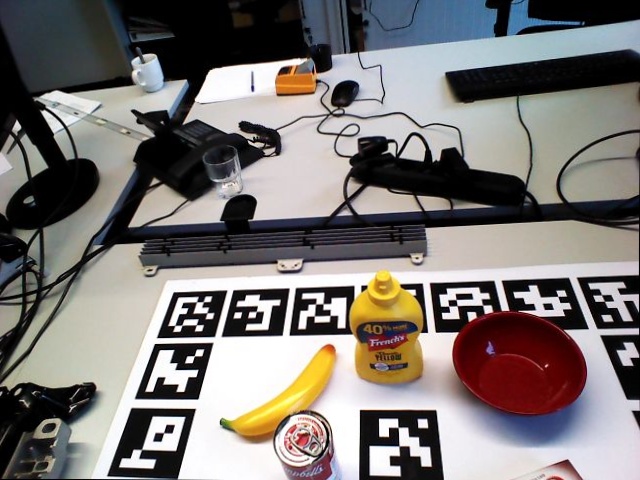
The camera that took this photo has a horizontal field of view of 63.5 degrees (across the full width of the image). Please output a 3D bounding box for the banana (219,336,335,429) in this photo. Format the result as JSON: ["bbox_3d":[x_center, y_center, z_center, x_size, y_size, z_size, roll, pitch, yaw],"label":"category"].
[{"bbox_3d":[-0.044,0.202,0.721,0.196,0.039,0.074,-35,36,-25],"label":"banana"}]

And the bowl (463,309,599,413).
[{"bbox_3d":[0.271,0.166,0.677,0.162,0.055,0.161,-8,40,6],"label":"bowl"}]

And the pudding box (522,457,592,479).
[{"bbox_3d":[0.246,0.296,0.543,0.114,0.039,0.090,-19,47,-8],"label":"pudding box"}]

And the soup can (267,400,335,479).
[{"bbox_3d":[-0.020,0.244,0.604,0.068,0.102,0.067,-5,40,4],"label":"soup can"}]

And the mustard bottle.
[{"bbox_3d":[0.092,0.102,0.667,0.096,0.192,0.058,-3,39,10],"label":"mustard bottle"}]
